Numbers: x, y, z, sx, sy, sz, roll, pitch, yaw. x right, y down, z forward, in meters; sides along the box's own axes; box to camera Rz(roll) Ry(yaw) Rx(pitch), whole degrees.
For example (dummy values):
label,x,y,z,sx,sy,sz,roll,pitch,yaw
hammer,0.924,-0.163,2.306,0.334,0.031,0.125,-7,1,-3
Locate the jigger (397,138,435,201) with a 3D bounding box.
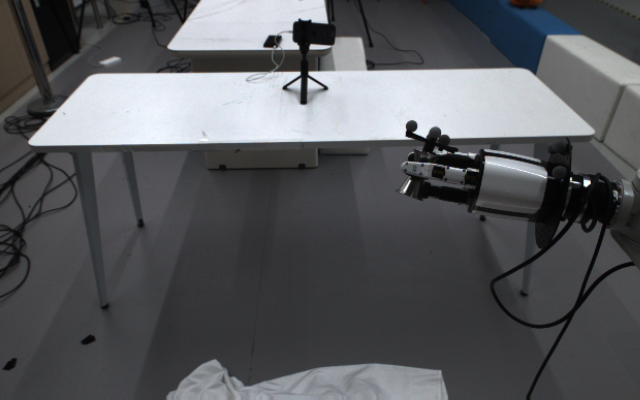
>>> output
label,x,y,z,sx,sy,sz,roll,pitch,yaw
jigger,0.143,-0.039,0.716,0.043,0.071,0.043,22,5,-2
